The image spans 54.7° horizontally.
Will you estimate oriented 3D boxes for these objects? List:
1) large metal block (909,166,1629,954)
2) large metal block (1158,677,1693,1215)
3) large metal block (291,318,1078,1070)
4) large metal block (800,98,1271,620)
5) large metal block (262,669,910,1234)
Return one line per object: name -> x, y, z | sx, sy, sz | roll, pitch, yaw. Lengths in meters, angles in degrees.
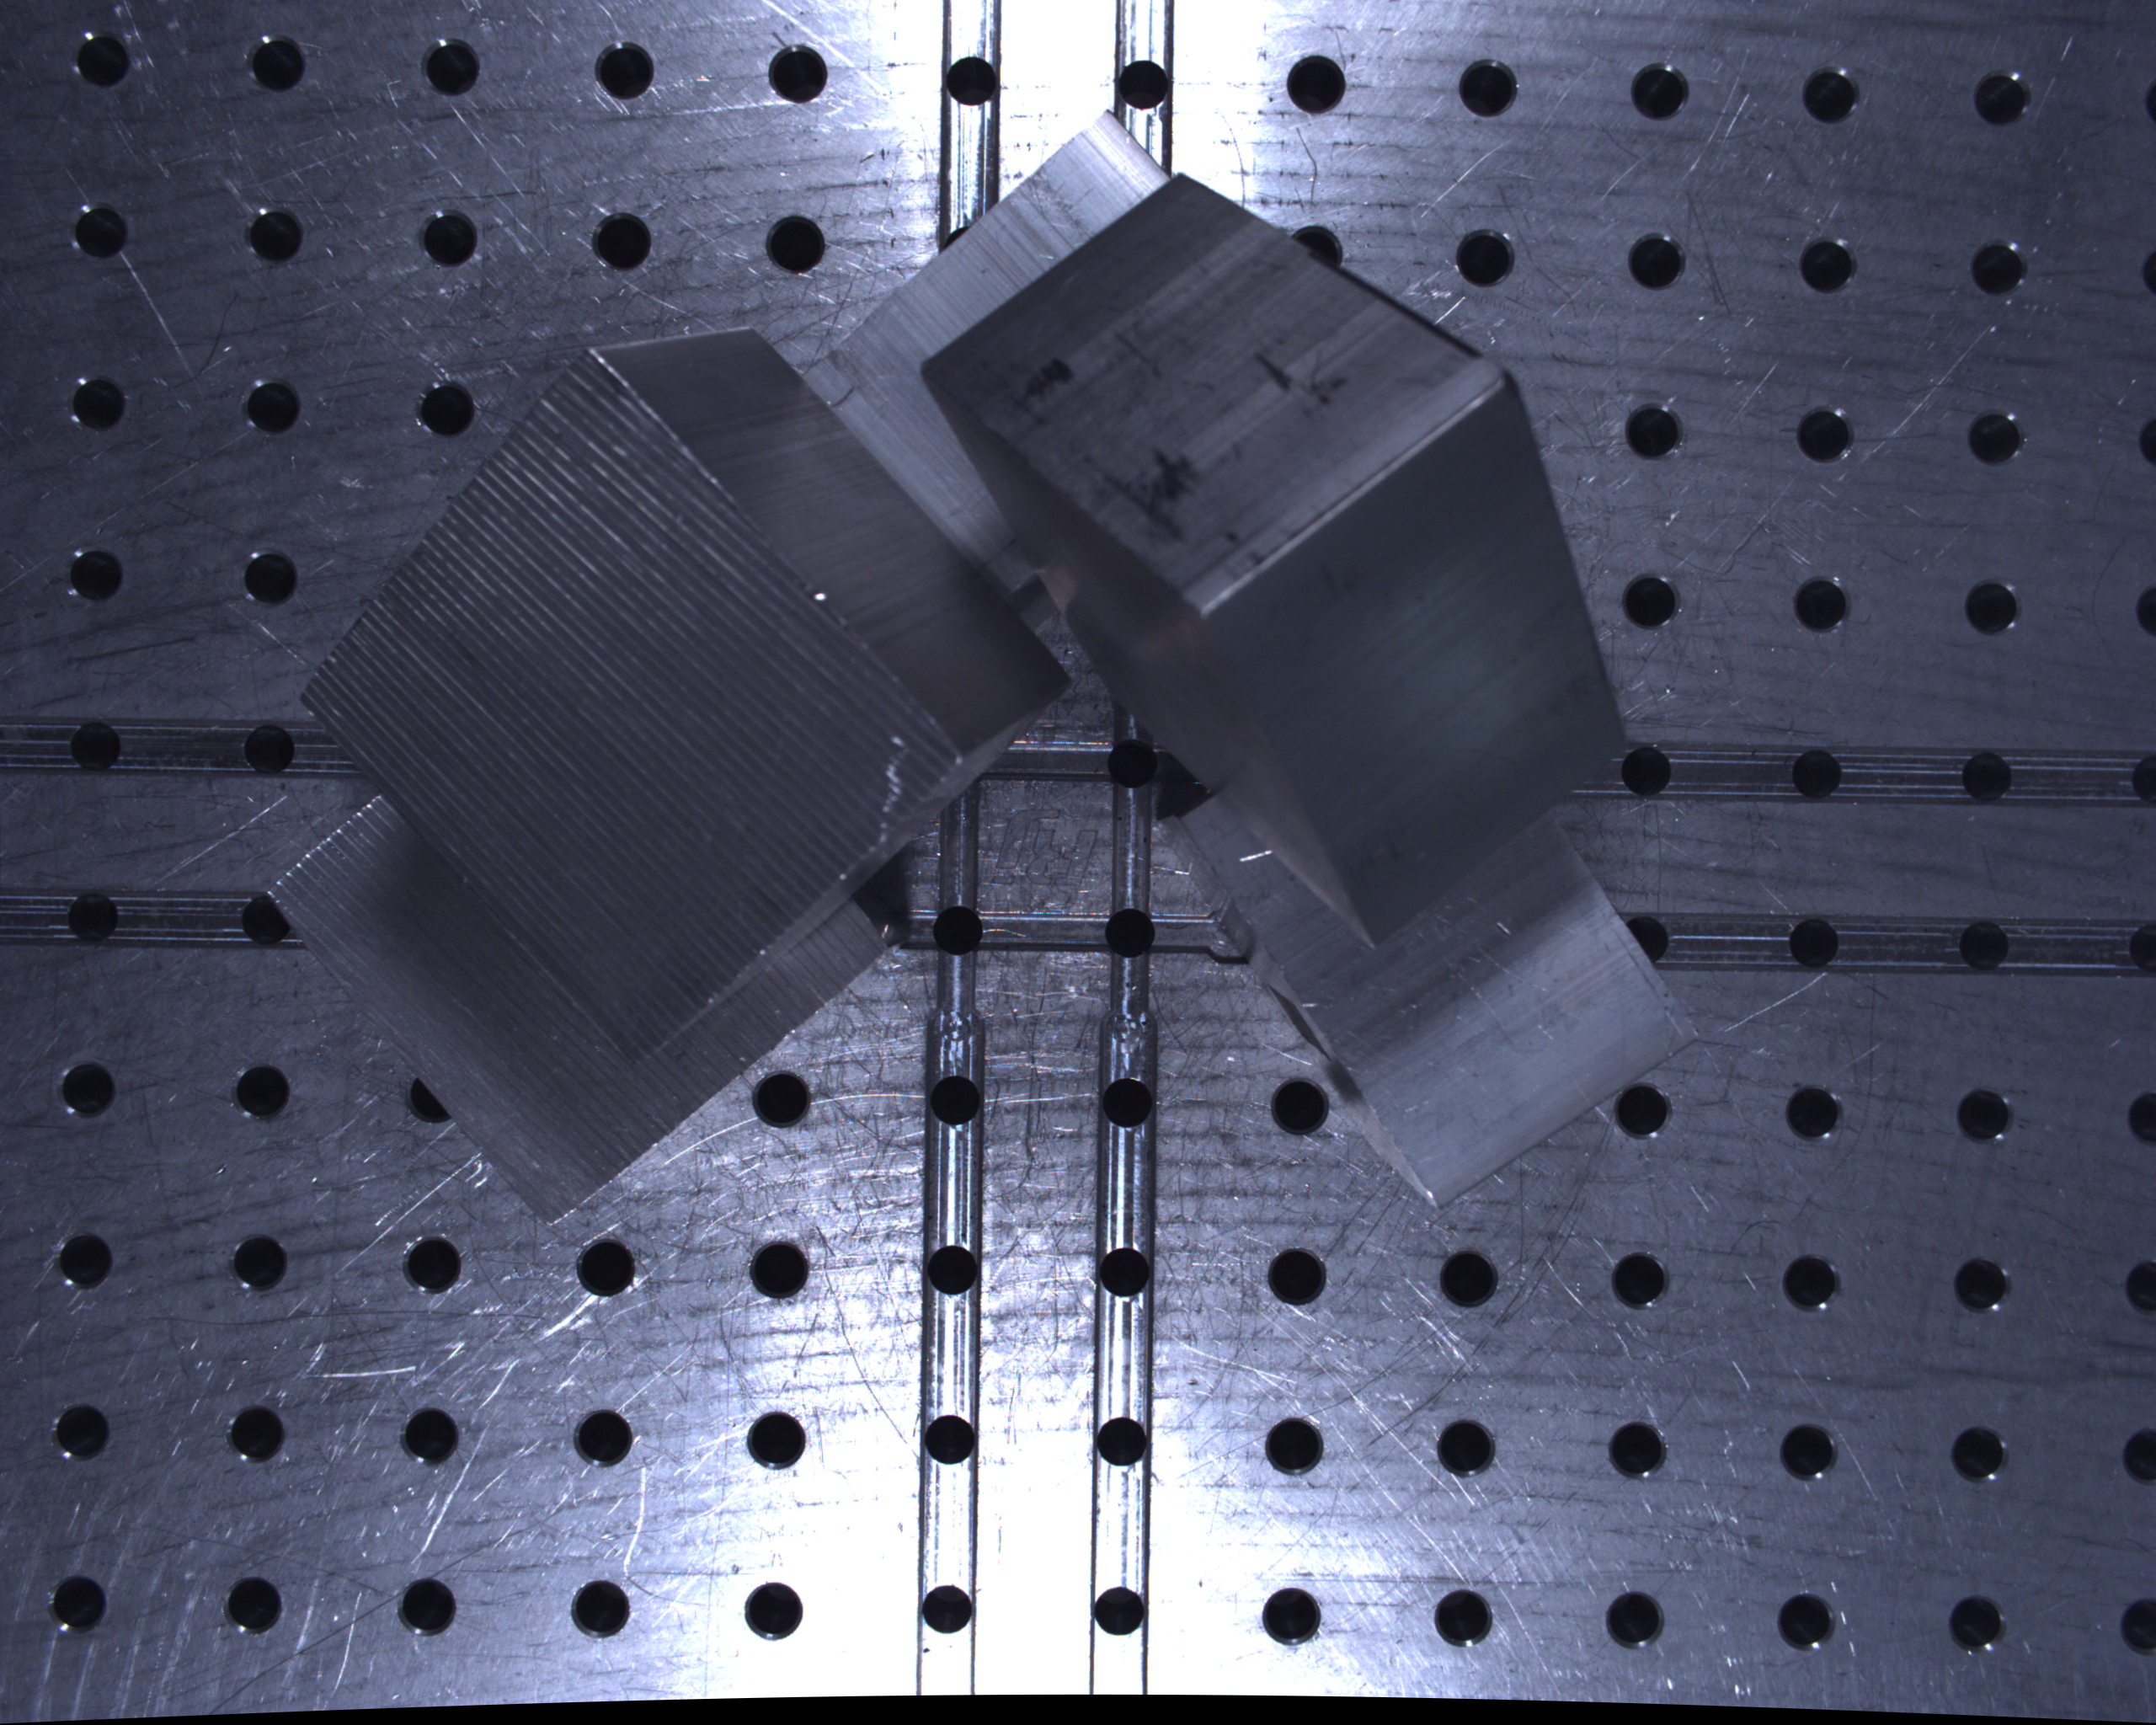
large metal block -> 0.030, -0.046, 0.315 | 0.050, 0.080, 0.080 | -39, 48, -5
large metal block -> 0.058, 0.011, 0.385 | 0.050, 0.080, 0.080 | -34, 90, 0
large metal block -> -0.062, -0.028, 0.334 | 0.080, 0.050, 0.080 | -42, 91, 25
large metal block -> -0.009, -0.082, 0.384 | 0.080, 0.080, 0.050 | -41, 91, 0
large metal block -> -0.090, 0.011, 0.399 | 0.080, 0.050, 0.080 | -39, 91, 0
